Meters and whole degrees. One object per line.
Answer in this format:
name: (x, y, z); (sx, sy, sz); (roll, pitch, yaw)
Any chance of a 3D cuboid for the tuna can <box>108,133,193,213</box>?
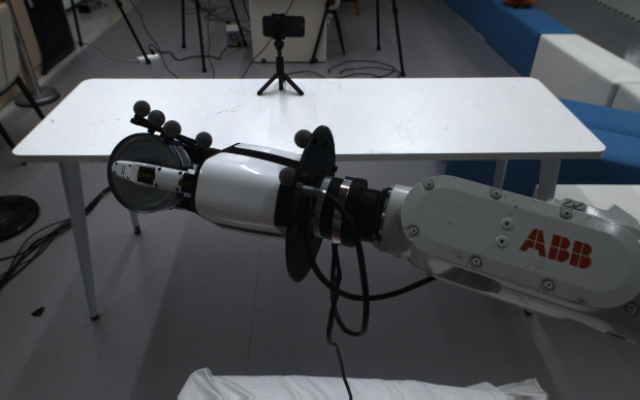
tuna can: (-0.180, -0.024, 0.523); (0.085, 0.085, 0.034); (10, 4, 11)
